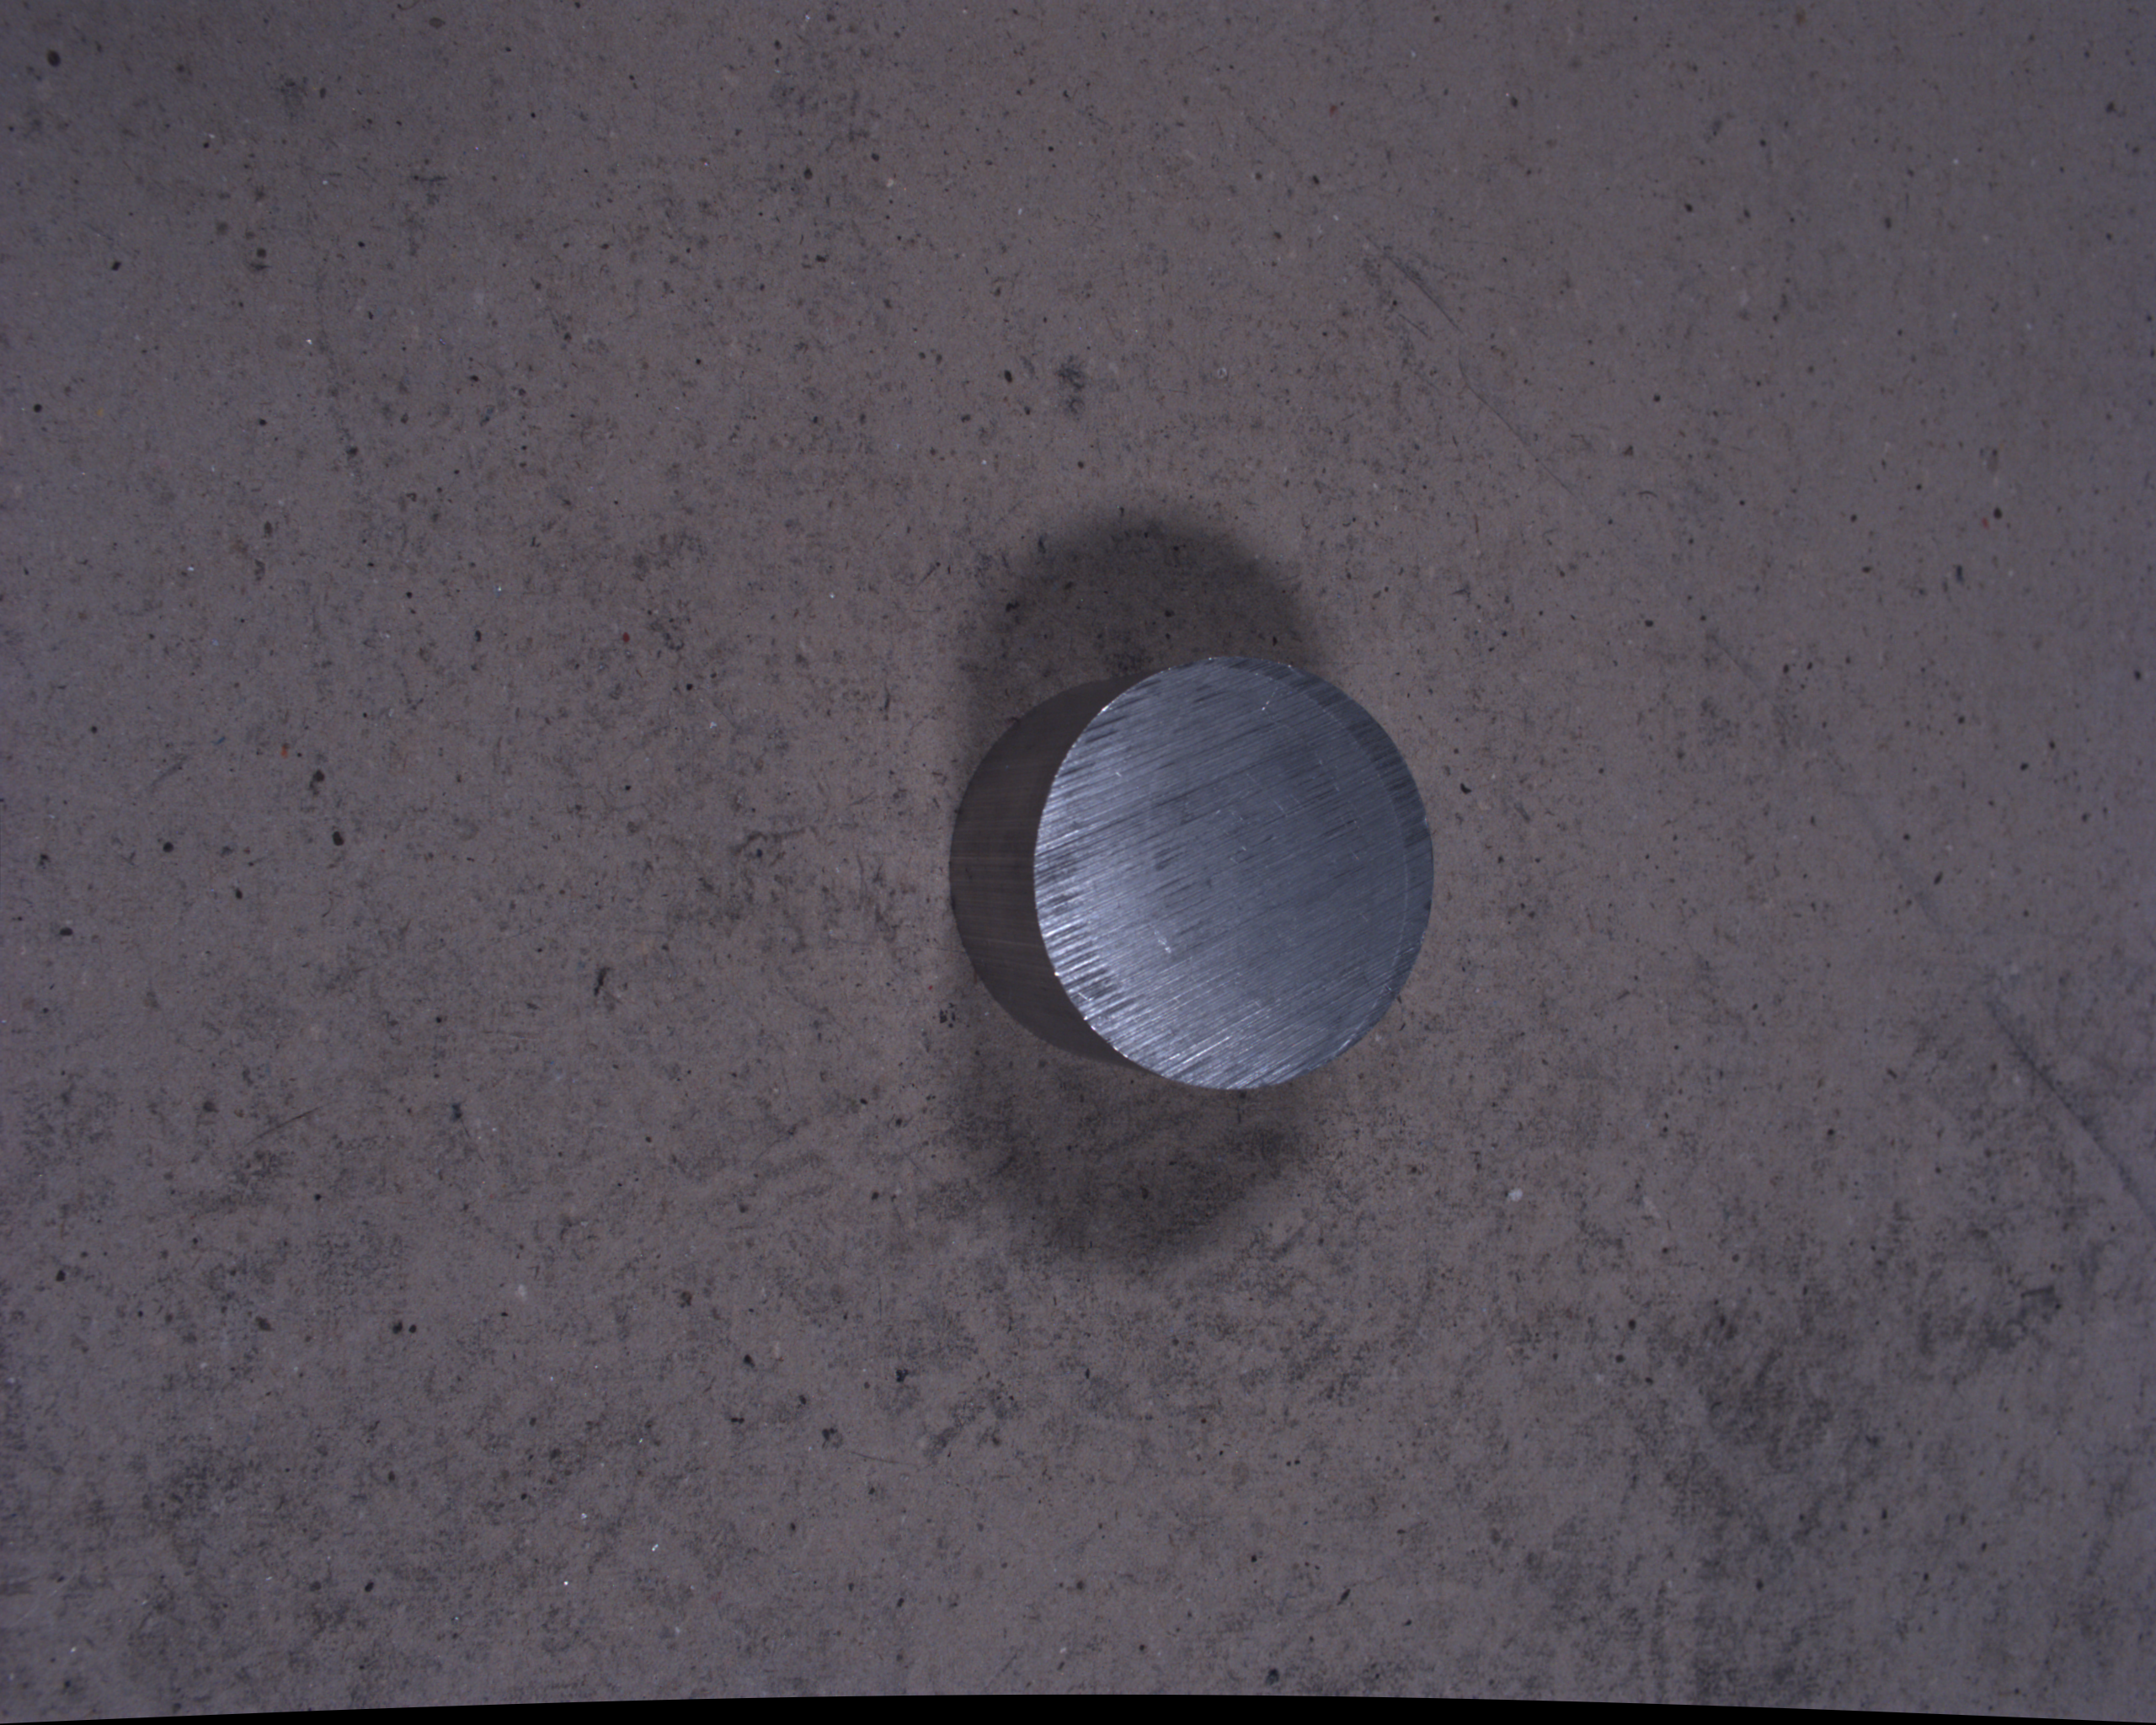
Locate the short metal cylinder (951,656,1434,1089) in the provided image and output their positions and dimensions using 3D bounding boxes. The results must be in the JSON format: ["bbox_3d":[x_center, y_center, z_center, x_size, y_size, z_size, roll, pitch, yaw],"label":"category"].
[{"bbox_3d":[0.021,0.002,0.406,0.081,0.050,0.079,0,90,-21],"label":"short metal cylinder"}]
